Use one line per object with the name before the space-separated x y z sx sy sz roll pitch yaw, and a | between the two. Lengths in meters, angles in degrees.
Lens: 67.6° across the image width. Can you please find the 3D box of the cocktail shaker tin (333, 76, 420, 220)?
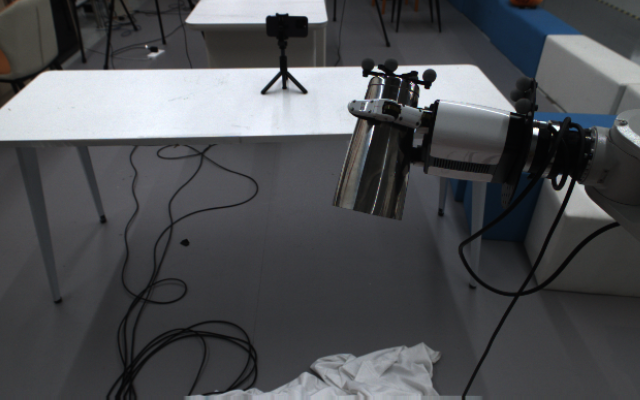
cocktail shaker tin | 0.081 -0.069 0.624 0.093 0.170 0.093 13 1 0
